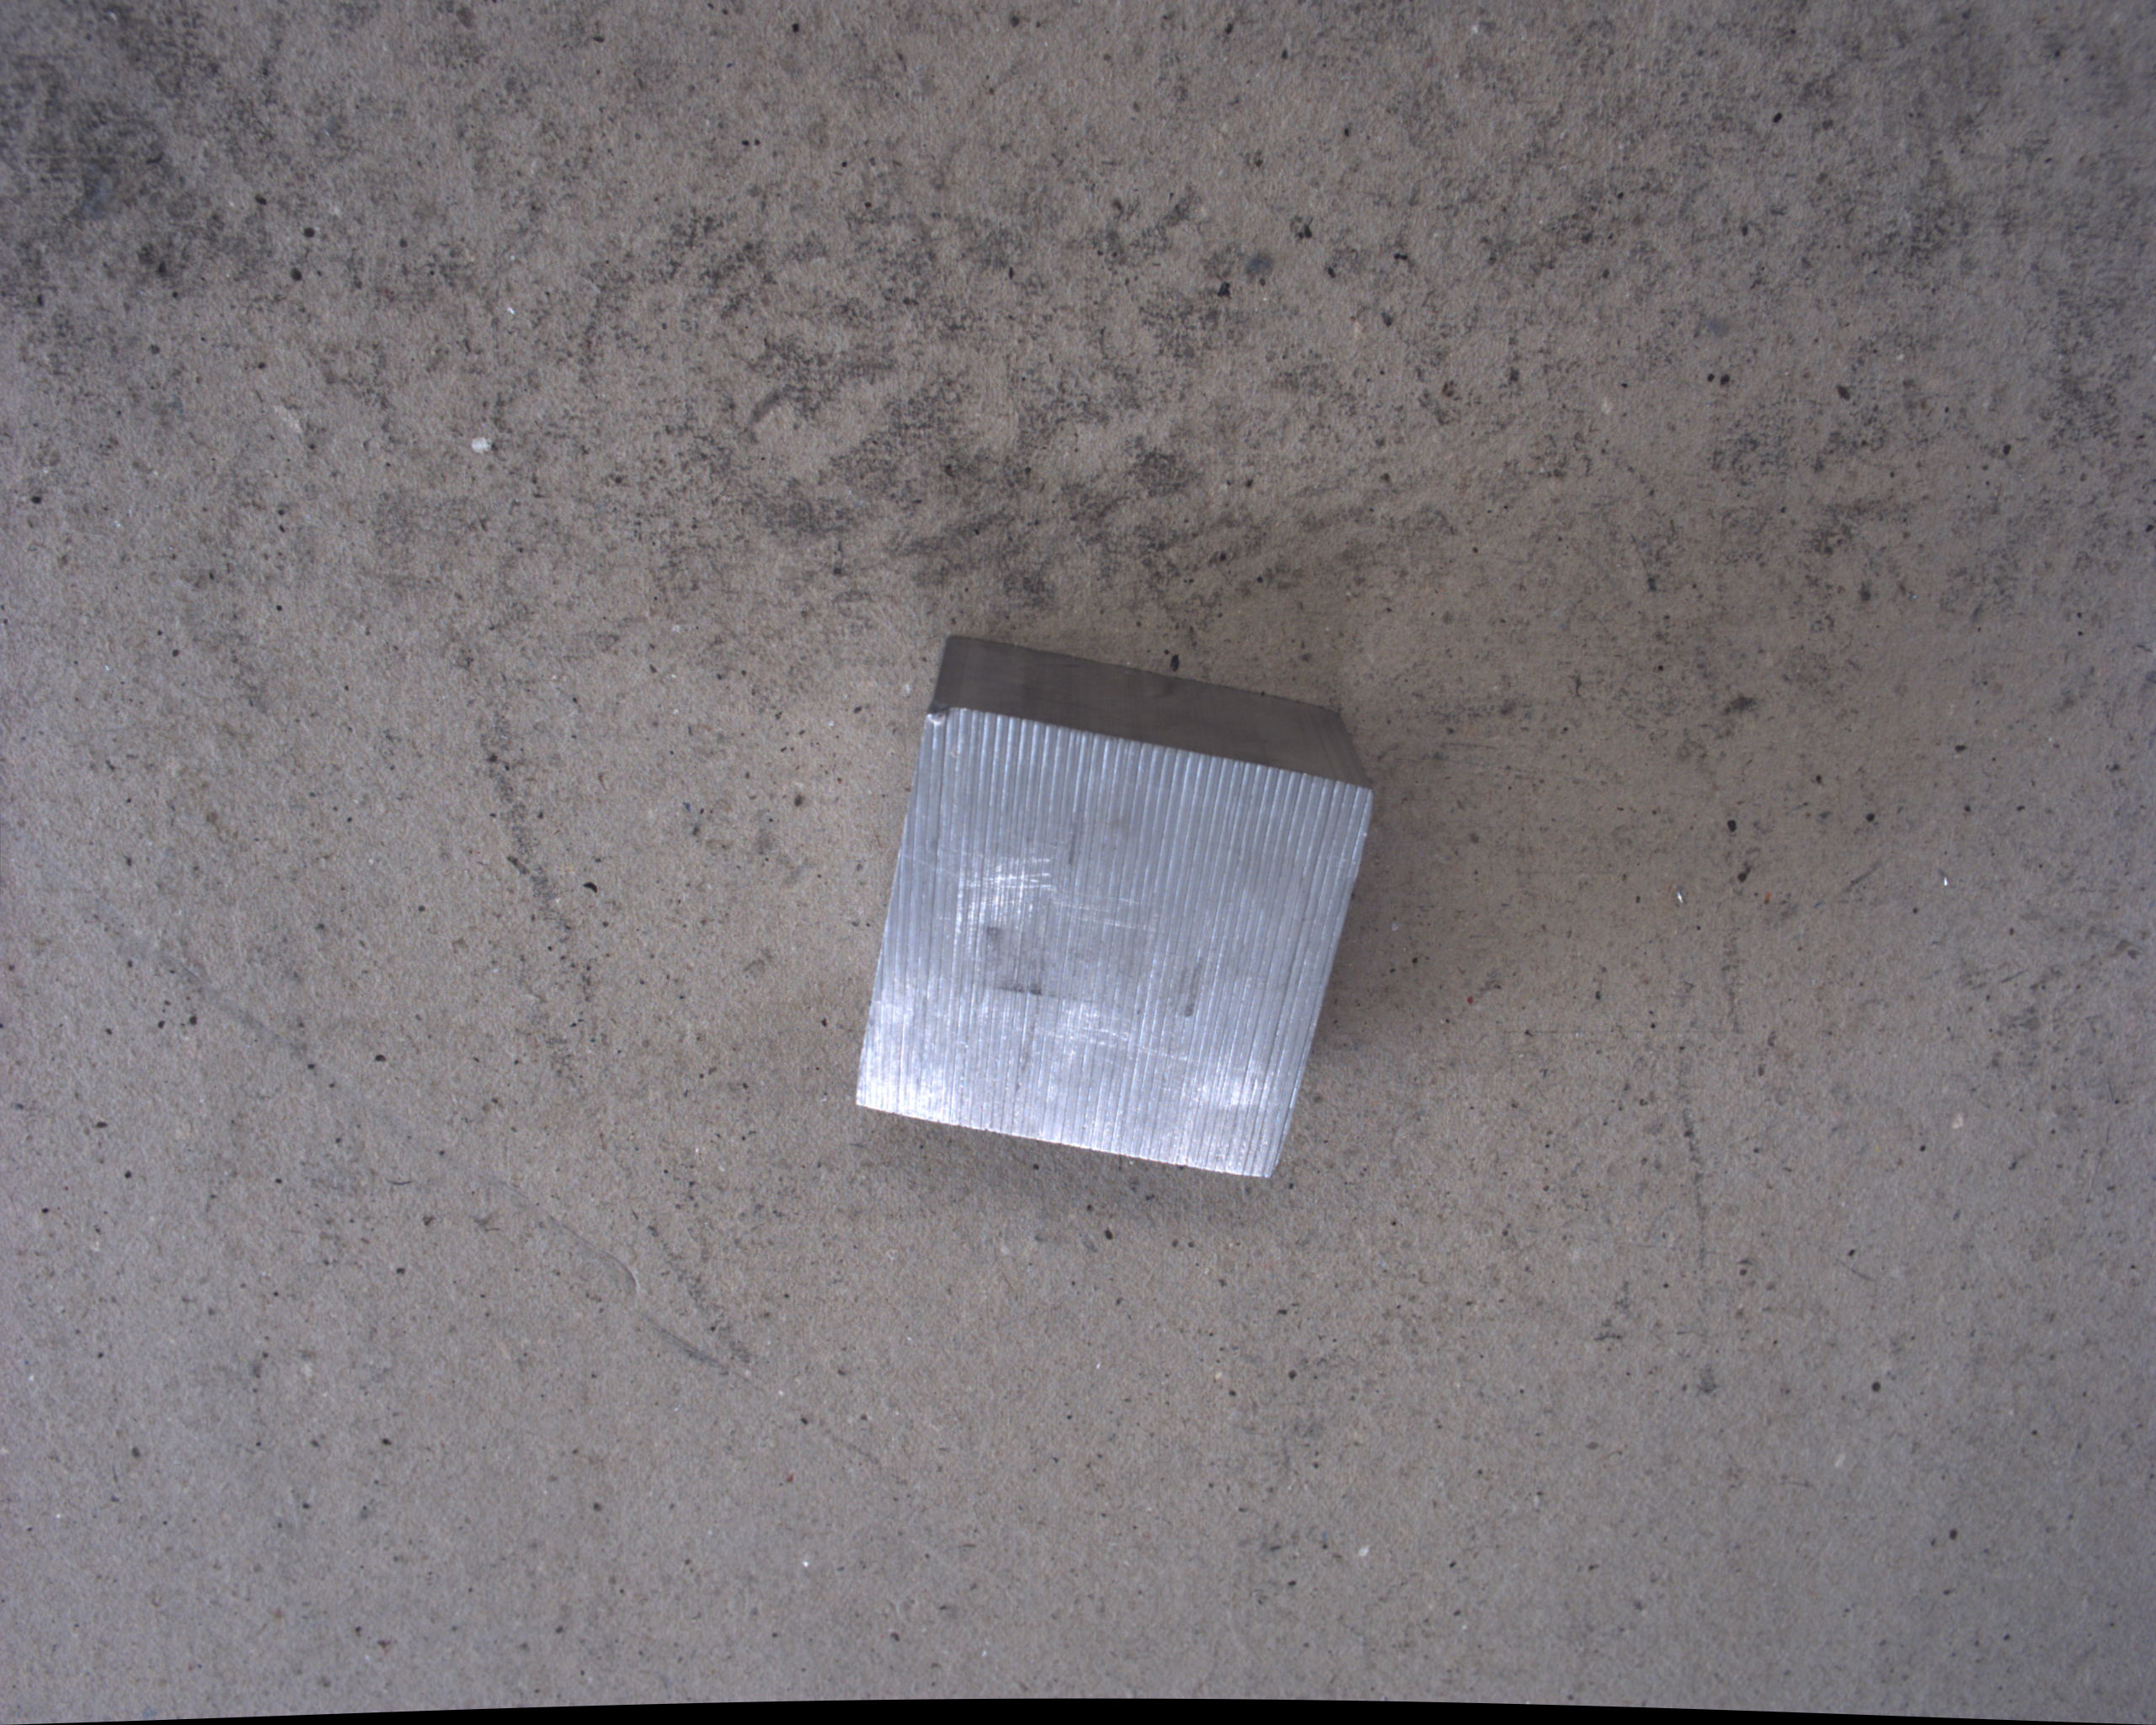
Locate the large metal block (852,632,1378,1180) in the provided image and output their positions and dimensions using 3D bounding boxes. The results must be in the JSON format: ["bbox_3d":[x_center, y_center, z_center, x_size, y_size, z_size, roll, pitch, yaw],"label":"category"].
[{"bbox_3d":[0.005,0.008,0.400,0.080,0.050,0.079,10,110,-5],"label":"large metal block"}]
